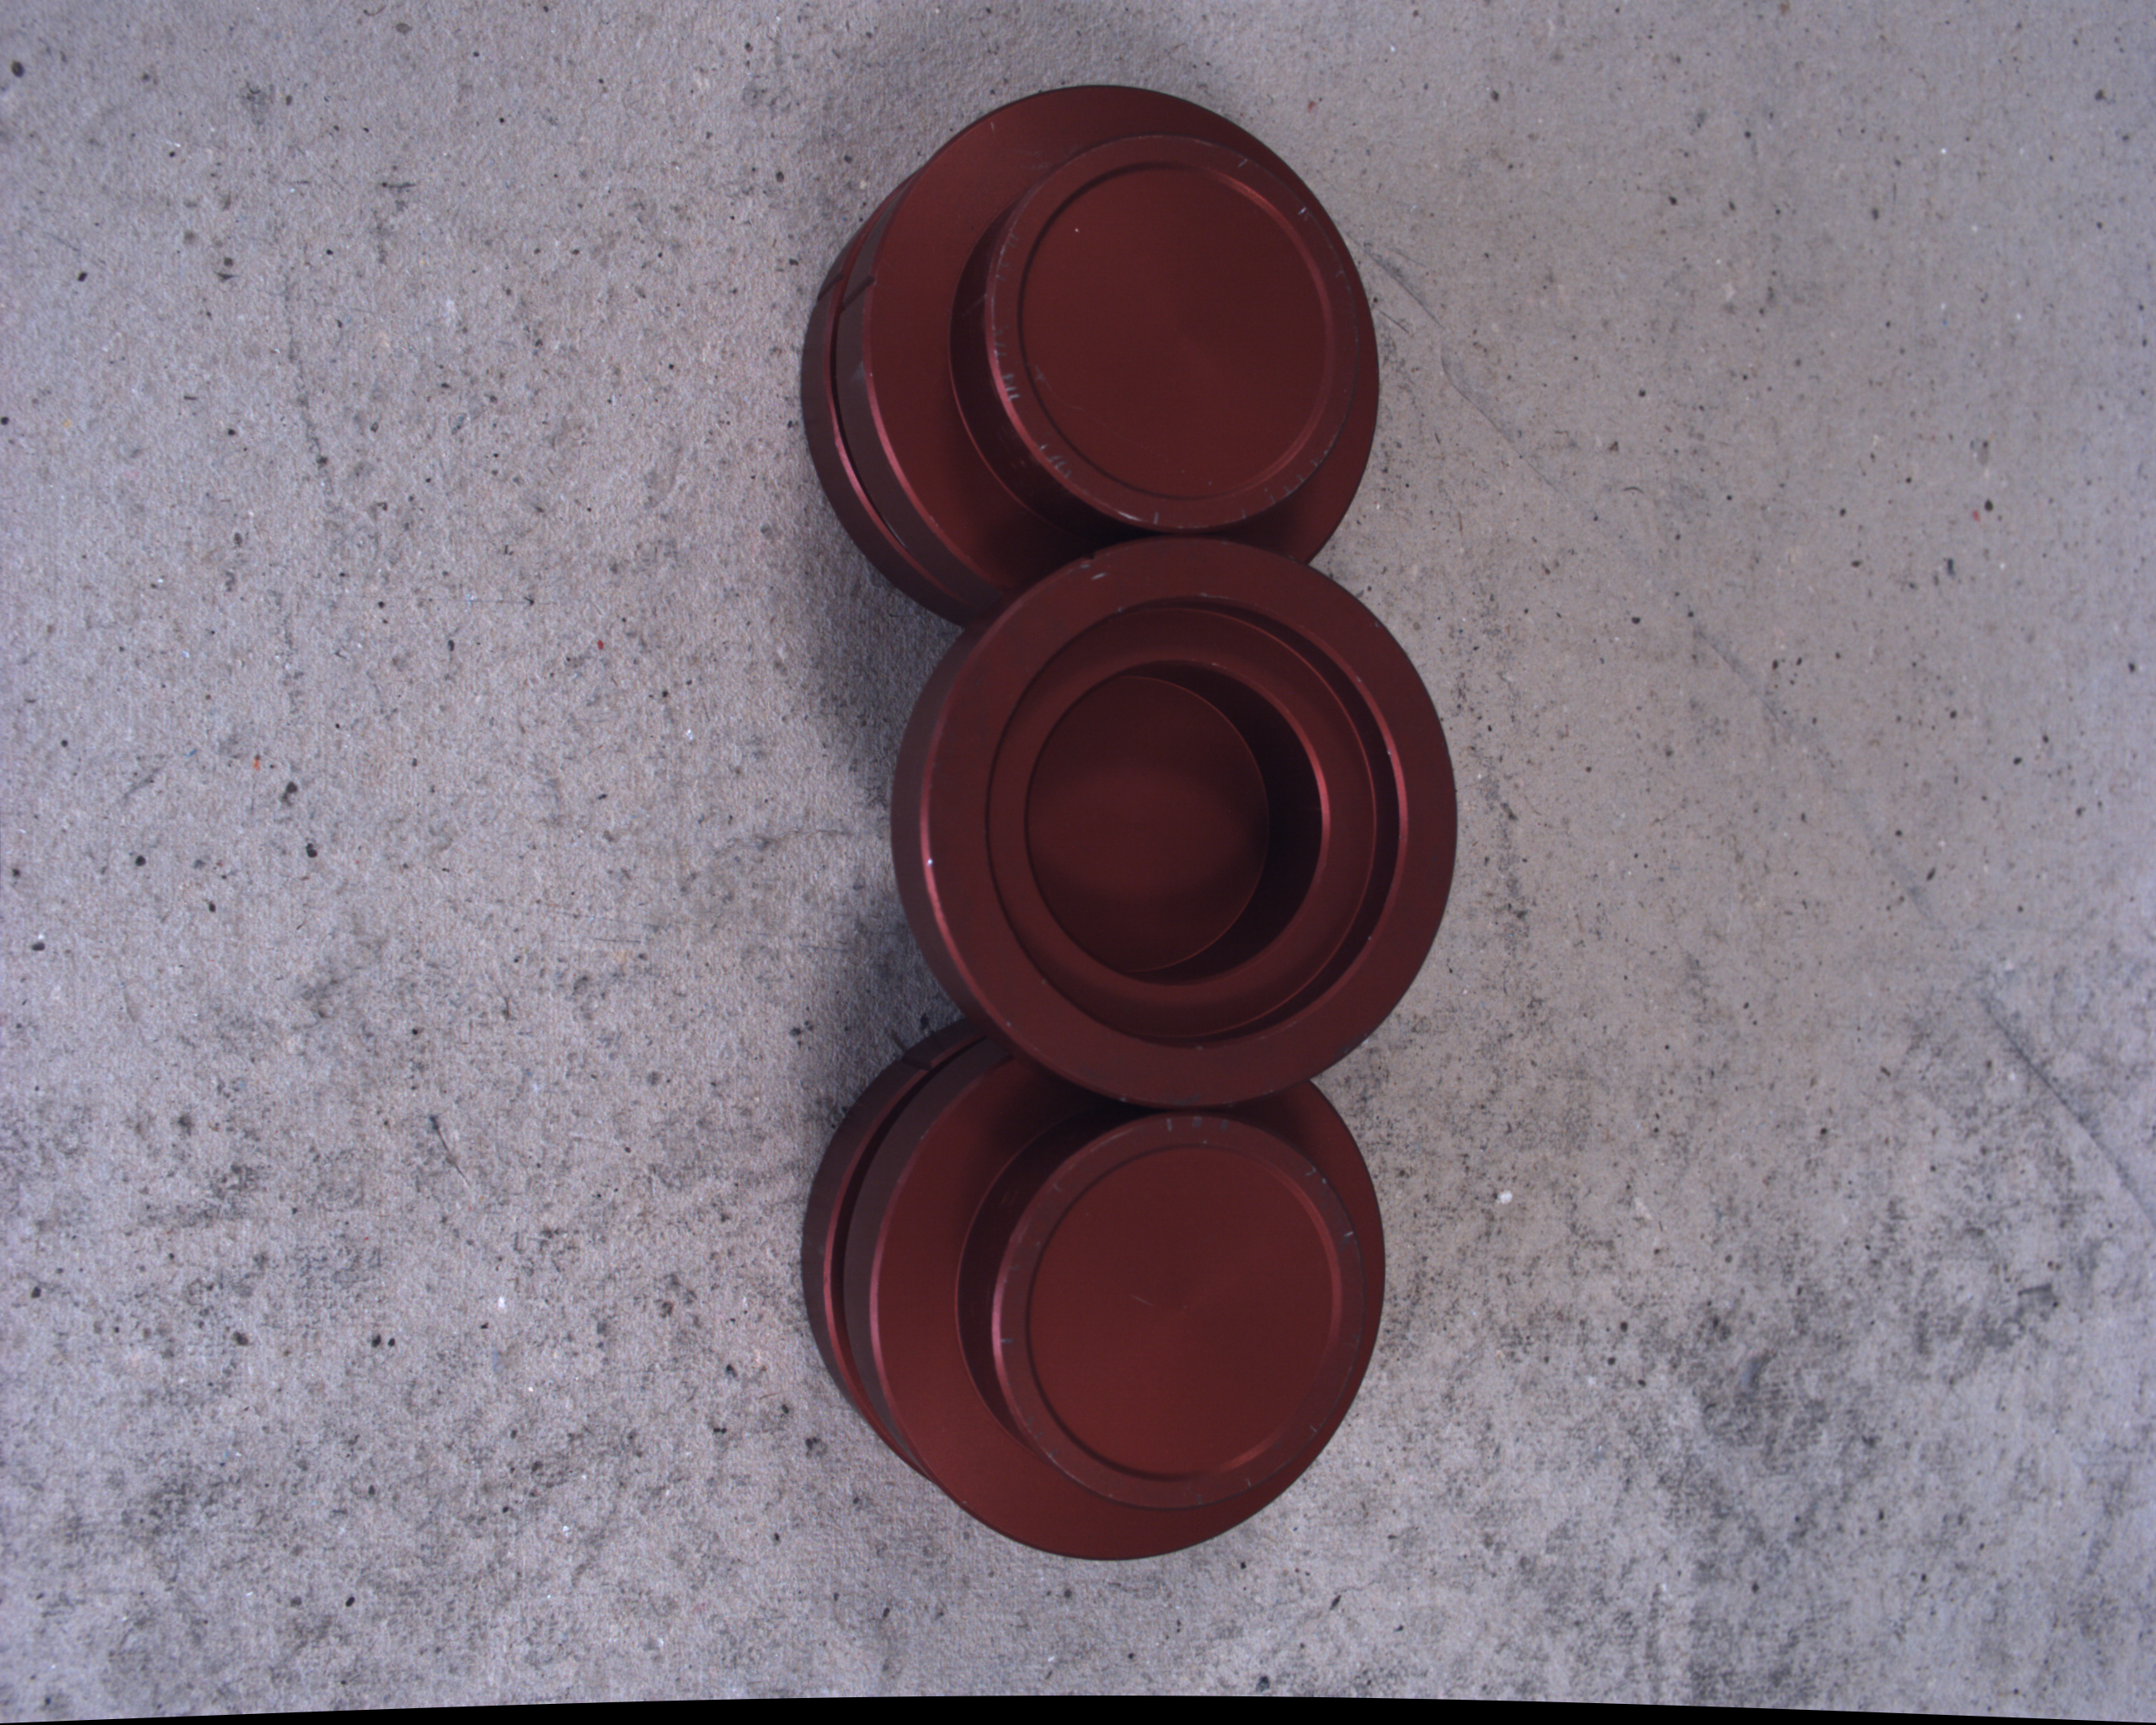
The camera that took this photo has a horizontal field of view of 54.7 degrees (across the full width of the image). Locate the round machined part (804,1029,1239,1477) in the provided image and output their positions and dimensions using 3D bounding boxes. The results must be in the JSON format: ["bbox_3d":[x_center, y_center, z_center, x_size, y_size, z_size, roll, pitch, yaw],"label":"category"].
[{"bbox_3d":[0.000,0.078,0.402,0.099,0.042,0.097,0,89,-19],"label":"round machined part"}]

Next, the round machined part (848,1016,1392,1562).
[{"bbox_3d":[0.012,0.076,0.370,0.099,0.042,0.097,0,91,-19],"label":"round machined part"}]

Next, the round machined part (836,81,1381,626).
[{"bbox_3d":[0.010,-0.090,0.370,0.099,0.042,0.097,0,91,-19],"label":"round machined part"}]

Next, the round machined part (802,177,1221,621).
[{"bbox_3d":[0.000,-0.092,0.400,0.099,0.042,0.097,0,91,-18],"label":"round machined part"}]

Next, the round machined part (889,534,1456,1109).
[{"bbox_3d":[0.014,-0.007,0.372,0.099,0.042,0.097,0,90,-20],"label":"round machined part"}]
